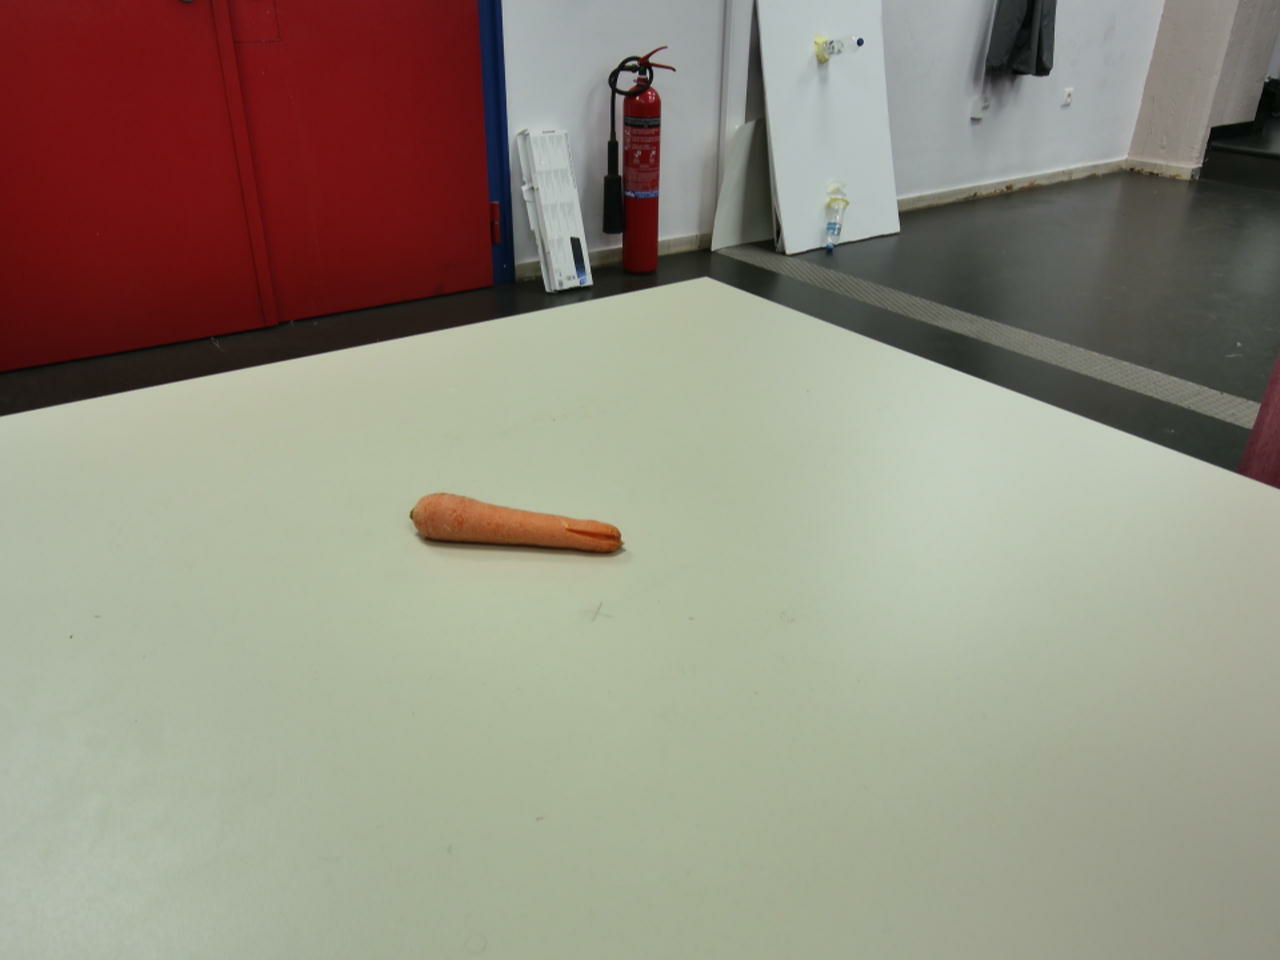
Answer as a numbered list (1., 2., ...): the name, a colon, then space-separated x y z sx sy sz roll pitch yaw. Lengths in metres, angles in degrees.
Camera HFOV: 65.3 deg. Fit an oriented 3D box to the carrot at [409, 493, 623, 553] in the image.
1. carrot: -0.078 0.027 0.622 0.136 0.032 0.030 4 26 8
